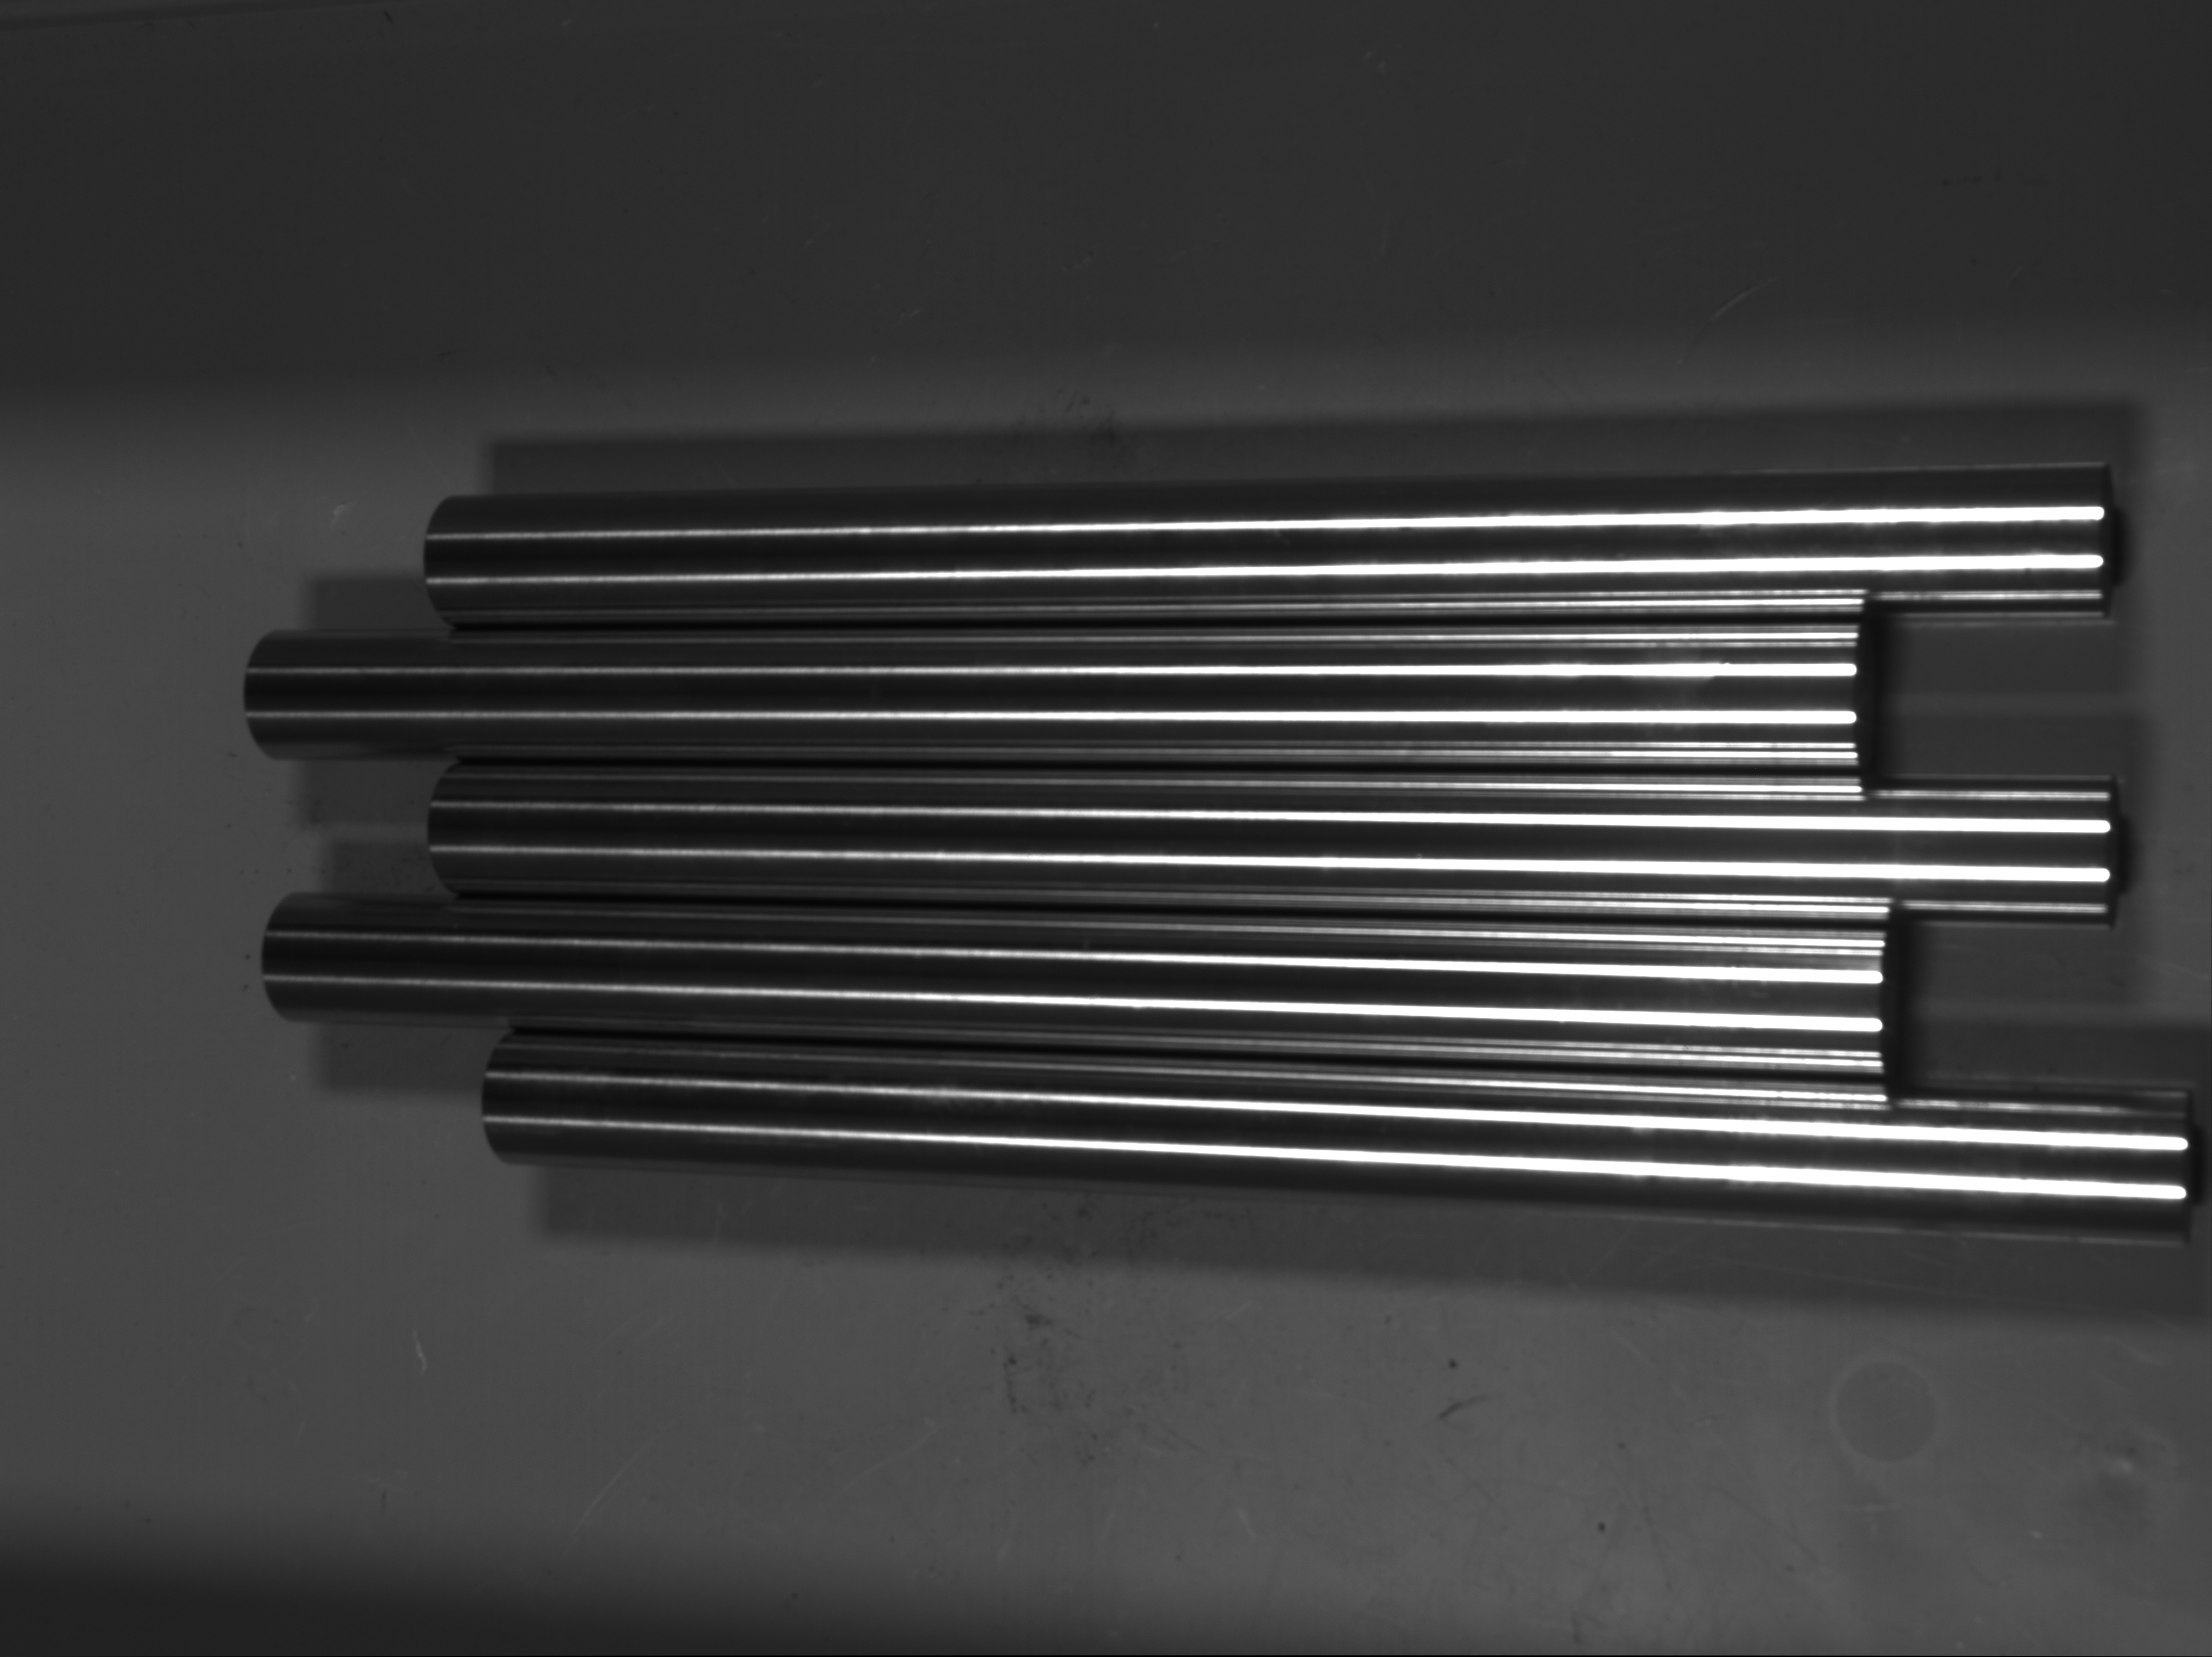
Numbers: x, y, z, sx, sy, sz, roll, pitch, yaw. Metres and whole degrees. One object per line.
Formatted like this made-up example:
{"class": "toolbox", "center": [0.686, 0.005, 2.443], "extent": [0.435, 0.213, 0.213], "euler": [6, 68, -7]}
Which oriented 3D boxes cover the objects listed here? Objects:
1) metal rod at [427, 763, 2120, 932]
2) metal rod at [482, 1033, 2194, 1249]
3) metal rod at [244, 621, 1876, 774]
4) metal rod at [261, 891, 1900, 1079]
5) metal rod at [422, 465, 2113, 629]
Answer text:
{"class": "metal rod", "center": [0.020, 0.002, 0.636], "extent": [0.299, 0.025, 0.025], "euler": [1, 90, 20]}
{"class": "metal rod", "center": [0.031, 0.052, 0.632], "extent": [0.299, 0.025, 0.025], "euler": [1, 90, 20]}
{"class": "metal rod", "center": [-0.017, -0.023, 0.649], "extent": [0.299, 0.025, 0.025], "euler": [1, 90, 20]}
{"class": "metal rod", "center": [-0.013, 0.026, 0.648], "extent": [0.299, 0.025, 0.025], "euler": [1, 90, 20]}
{"class": "metal rod", "center": [0.019, -0.048, 0.637], "extent": [0.299, 0.025, 0.025], "euler": [1, 90, 20]}
